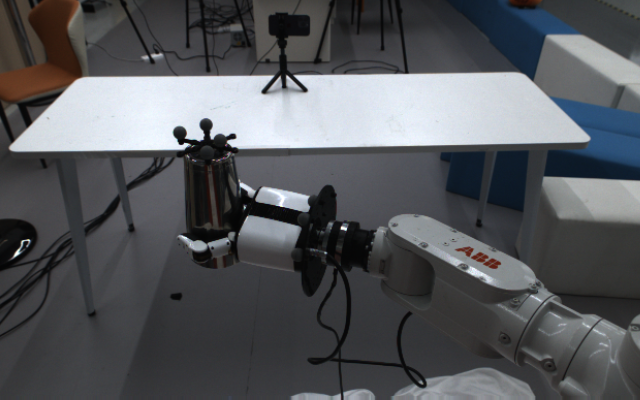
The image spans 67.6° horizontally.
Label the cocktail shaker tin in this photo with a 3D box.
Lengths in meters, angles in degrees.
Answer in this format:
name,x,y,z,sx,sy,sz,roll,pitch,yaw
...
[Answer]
name,x,y,z,sx,sy,sz,roll,pitch,yaw
cocktail shaker tin,-0.151,0.004,0.691,0.093,0.170,0.093,2,35,-1
